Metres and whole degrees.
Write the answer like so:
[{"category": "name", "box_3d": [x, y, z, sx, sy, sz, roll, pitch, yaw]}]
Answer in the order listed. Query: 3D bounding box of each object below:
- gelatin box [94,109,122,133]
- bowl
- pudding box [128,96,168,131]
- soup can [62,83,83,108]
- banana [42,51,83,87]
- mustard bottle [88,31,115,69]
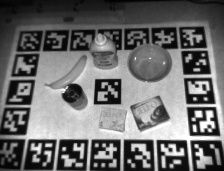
[{"category": "gelatin box", "box_3d": [-0.012, 0.124, 0.761, 0.089, 0.030, 0.073, 7, 73, 8]}, {"category": "bowl", "box_3d": [0.138, -0.082, 0.816, 0.161, 0.055, 0.161, -2, 69, 5]}, {"category": "pudding box", "box_3d": [0.124, 0.096, 0.756, 0.114, 0.039, 0.089, -22, 75, -4]}, {"category": "soup can", "box_3d": [-0.145, 0.033, 0.757, 0.068, 0.102, 0.067, -1, 68, 3]}, {"category": "banana", "box_3d": [-0.178, -0.057, 0.837, 0.198, 0.039, 0.073, -45, 62, -12]}, {"category": "mustard bottle", "box_3d": [-0.039, -0.127, 0.759, 0.096, 0.192, 0.058, 0, 66, 5]}]
